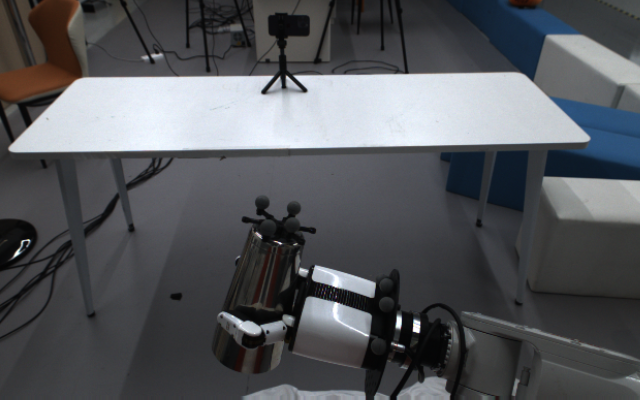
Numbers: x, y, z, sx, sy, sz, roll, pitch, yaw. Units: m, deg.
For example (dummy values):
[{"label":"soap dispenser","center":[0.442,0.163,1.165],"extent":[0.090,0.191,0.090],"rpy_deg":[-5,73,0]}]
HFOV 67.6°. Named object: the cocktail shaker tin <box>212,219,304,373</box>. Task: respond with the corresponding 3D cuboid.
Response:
[{"label":"cocktail shaker tin","center":[-0.070,0.114,0.592],"extent":[0.093,0.170,0.093],"rpy_deg":[15,20,-5]}]
